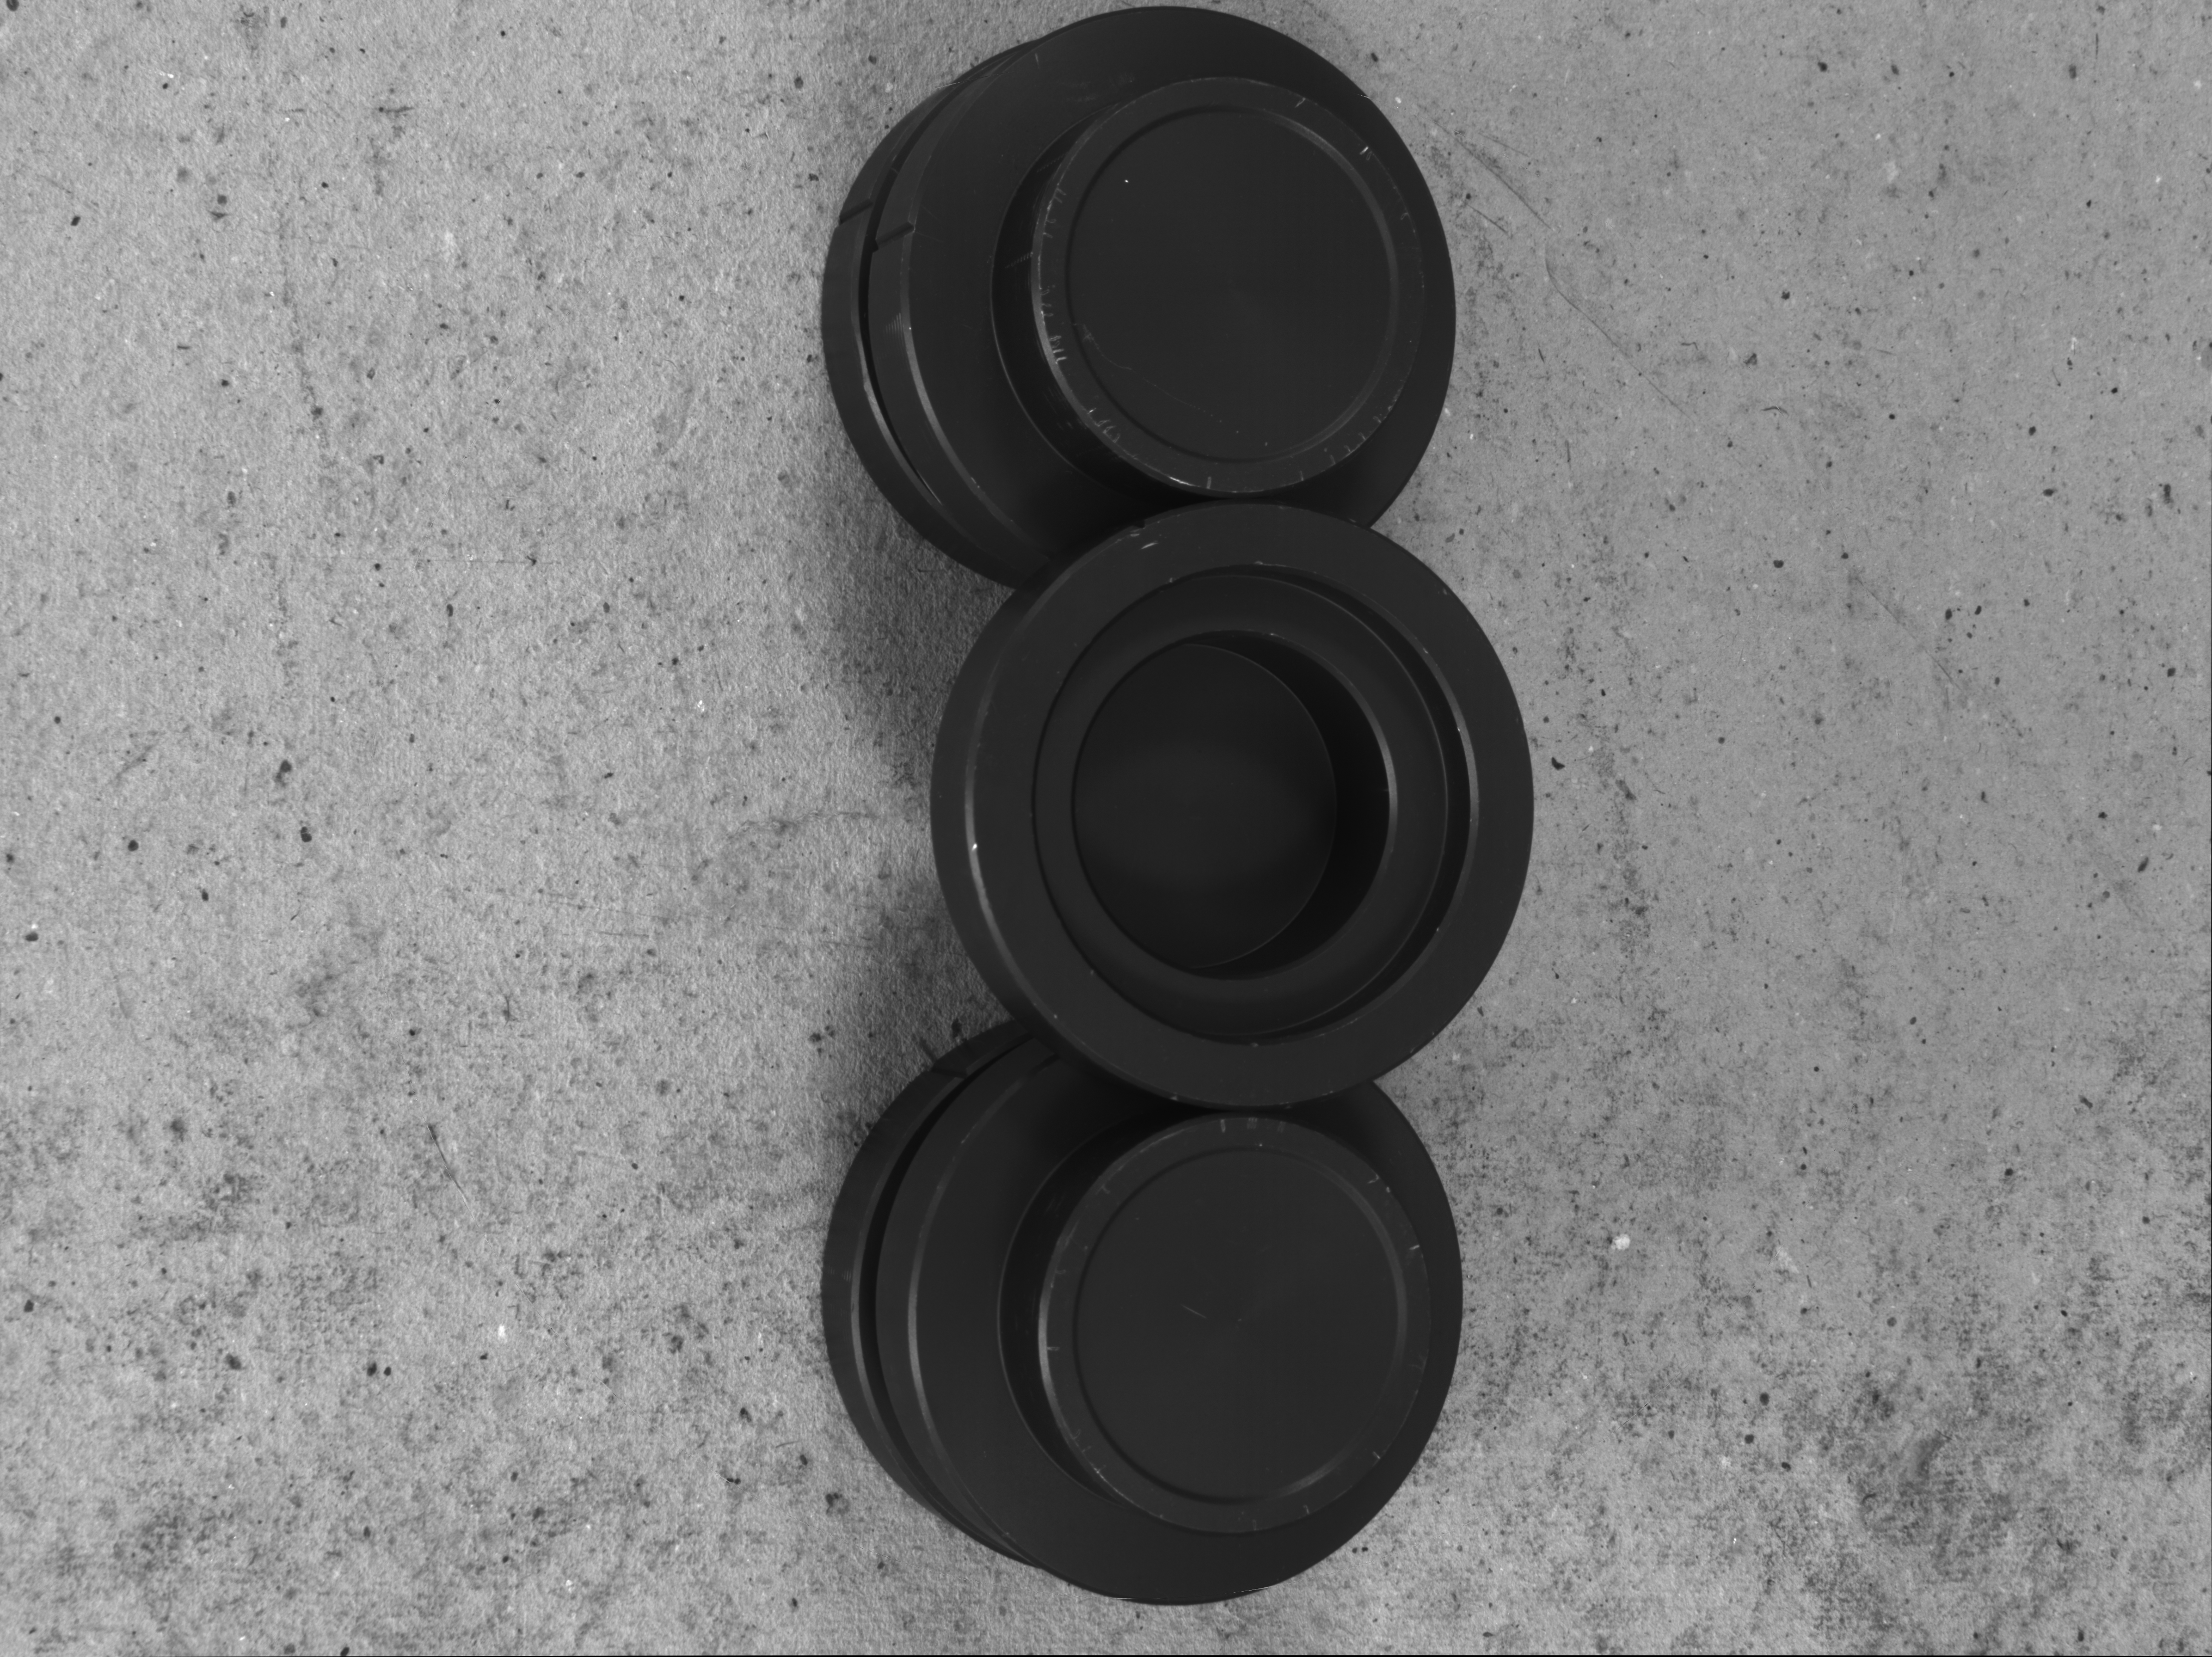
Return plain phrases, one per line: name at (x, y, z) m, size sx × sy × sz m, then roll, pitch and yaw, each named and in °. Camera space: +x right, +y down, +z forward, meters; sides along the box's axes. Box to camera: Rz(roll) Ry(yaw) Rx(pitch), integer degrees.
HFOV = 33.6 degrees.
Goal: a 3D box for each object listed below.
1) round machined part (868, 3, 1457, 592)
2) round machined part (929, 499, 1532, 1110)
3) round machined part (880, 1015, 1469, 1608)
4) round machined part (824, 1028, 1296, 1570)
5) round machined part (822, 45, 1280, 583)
round machined part at (0.013, -0.087, 0.604) m, size 0.098 × 0.042 × 0.098 m, roll 0°, pitch 90°, yaw -19°
round machined part at (0.017, -0.004, 0.606) m, size 0.098 × 0.042 × 0.098 m, roll 0°, pitch 90°, yaw -20°
round machined part at (0.015, 0.080, 0.604) m, size 0.098 × 0.042 × 0.098 m, roll 0°, pitch 90°, yaw -19°
round machined part at (0.003, 0.082, 0.636) m, size 0.098 × 0.042 × 0.098 m, roll 0°, pitch 89°, yaw -19°
round machined part at (0.003, -0.089, 0.635) m, size 0.098 × 0.042 × 0.098 m, roll 0°, pitch 90°, yaw -18°
